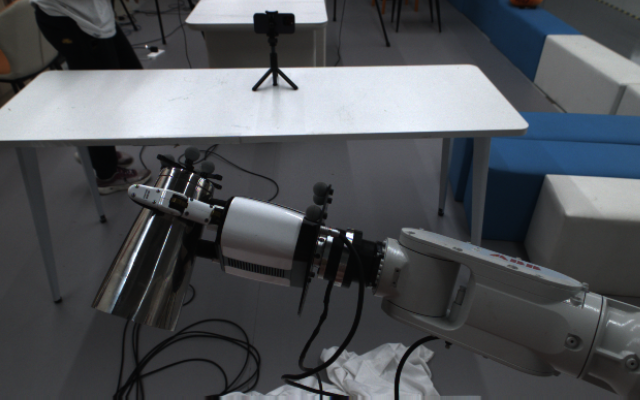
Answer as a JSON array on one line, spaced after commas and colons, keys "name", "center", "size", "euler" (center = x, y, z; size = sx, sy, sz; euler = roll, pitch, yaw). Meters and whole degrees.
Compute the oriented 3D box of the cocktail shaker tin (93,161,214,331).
[{"name": "cocktail shaker tin", "center": [-0.182, 0.054, 0.553], "size": [0.093, 0.093, 0.170], "euler": [13, 72, 15]}]
